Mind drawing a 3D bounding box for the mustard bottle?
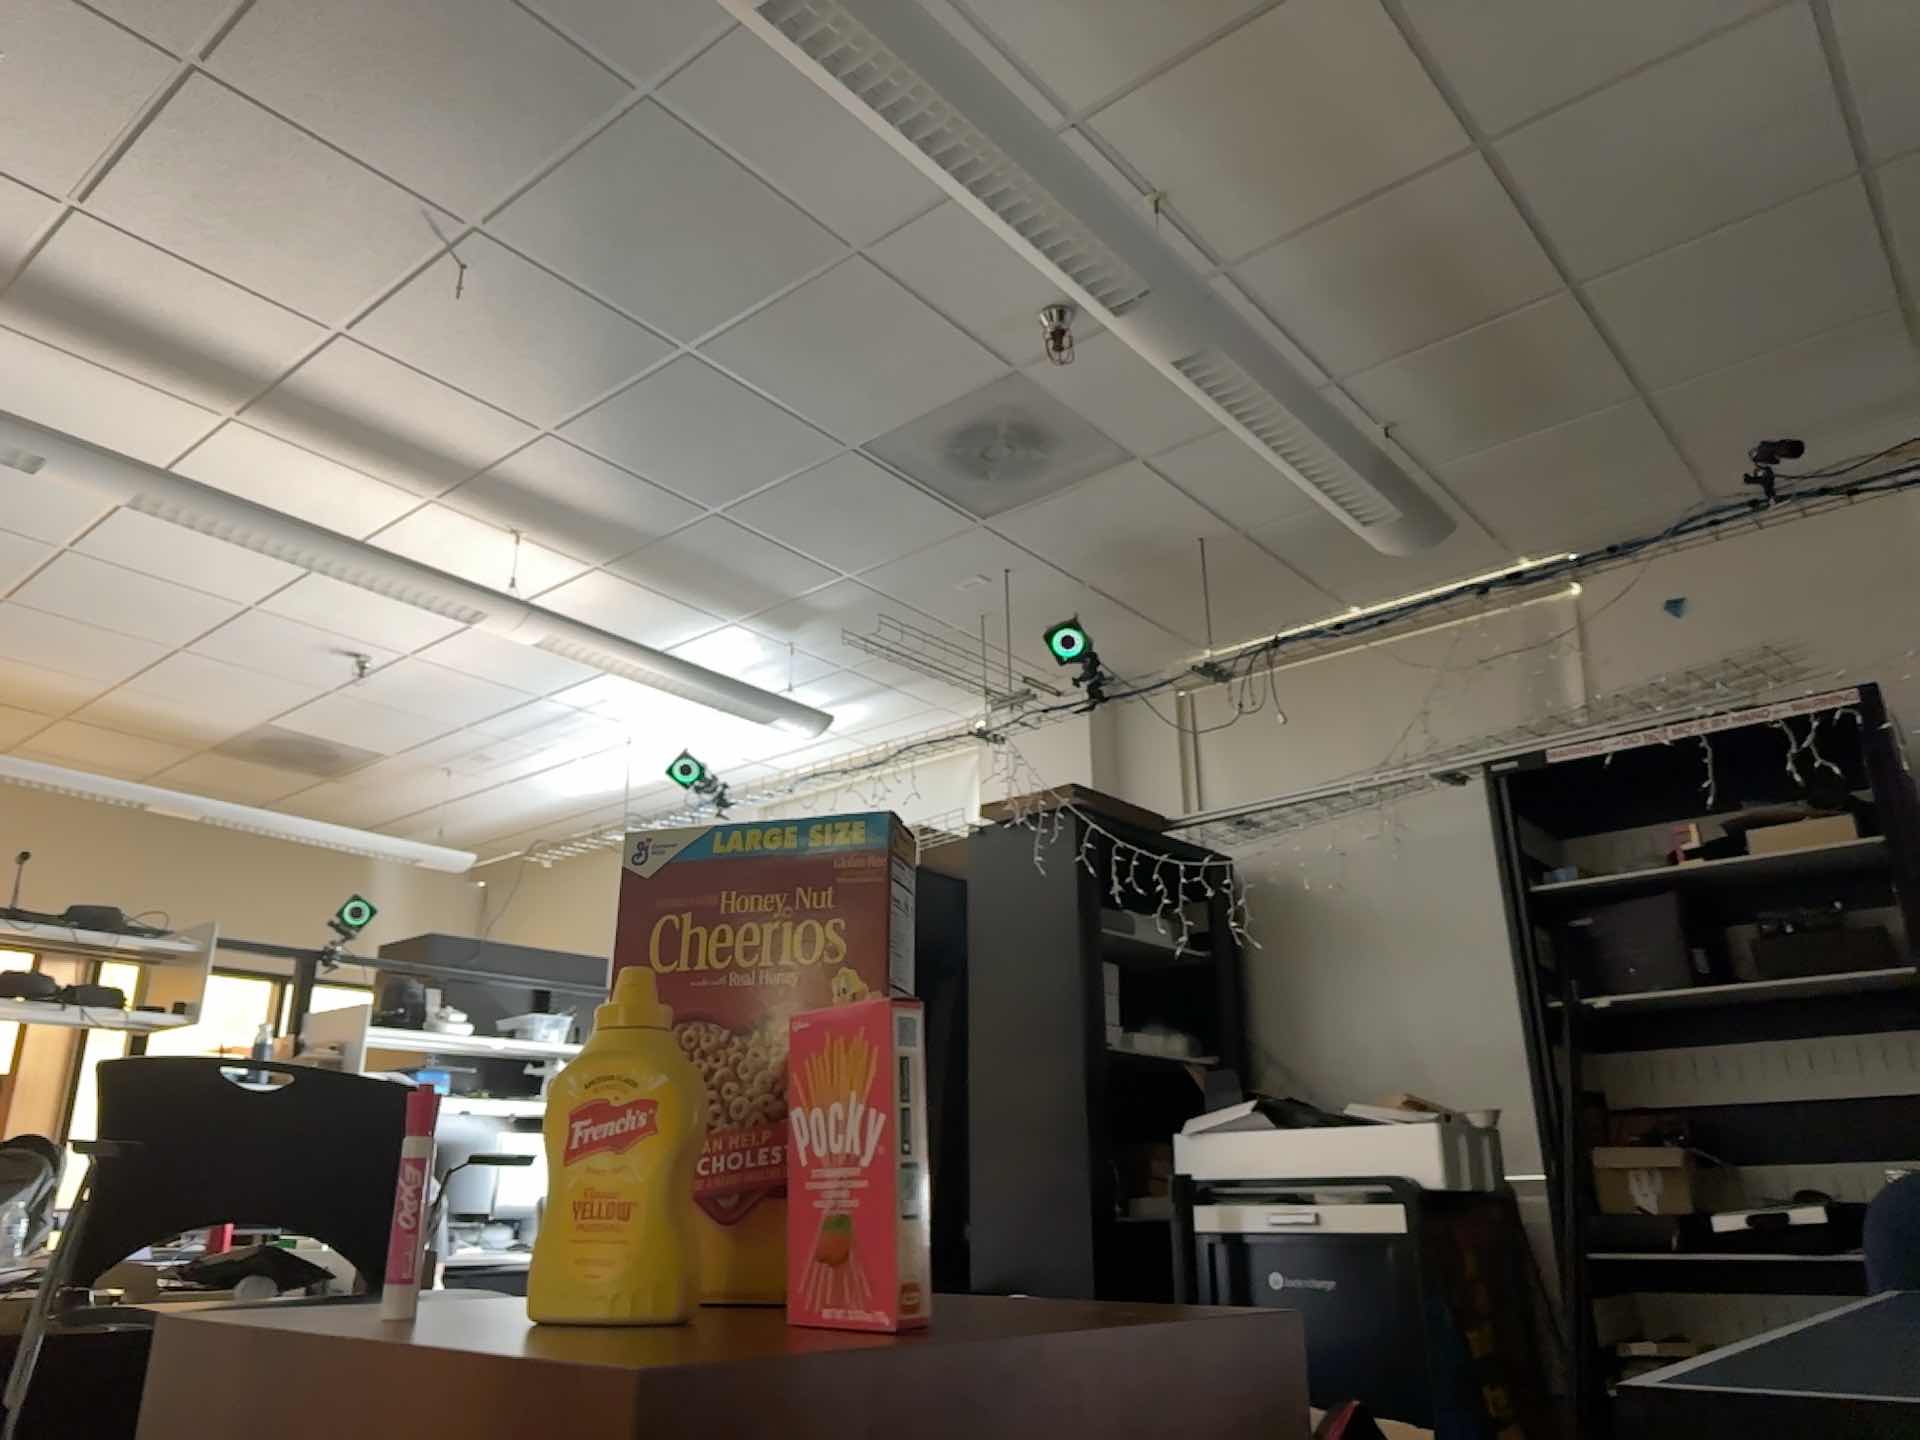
[{"bbox_3d":[-0.179,0.223,0.724,0.092,0.184,0.054,-6,-19,15],"label":"mustard bottle"}]

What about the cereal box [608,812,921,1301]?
[{"bbox_3d":[-0.133,0.219,0.900,0.195,0.296,0.065,-3,-19,11],"label":"cereal box"}]

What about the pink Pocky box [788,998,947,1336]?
[{"bbox_3d":[-0.048,0.221,0.676,0.084,0.154,0.029,-16,-24,36],"label":"pink Pocky box"}]

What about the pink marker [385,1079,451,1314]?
[{"bbox_3d":[-0.297,0.260,0.744,0.020,0.121,0.020,1,-19,0],"label":"pink marker"}]
